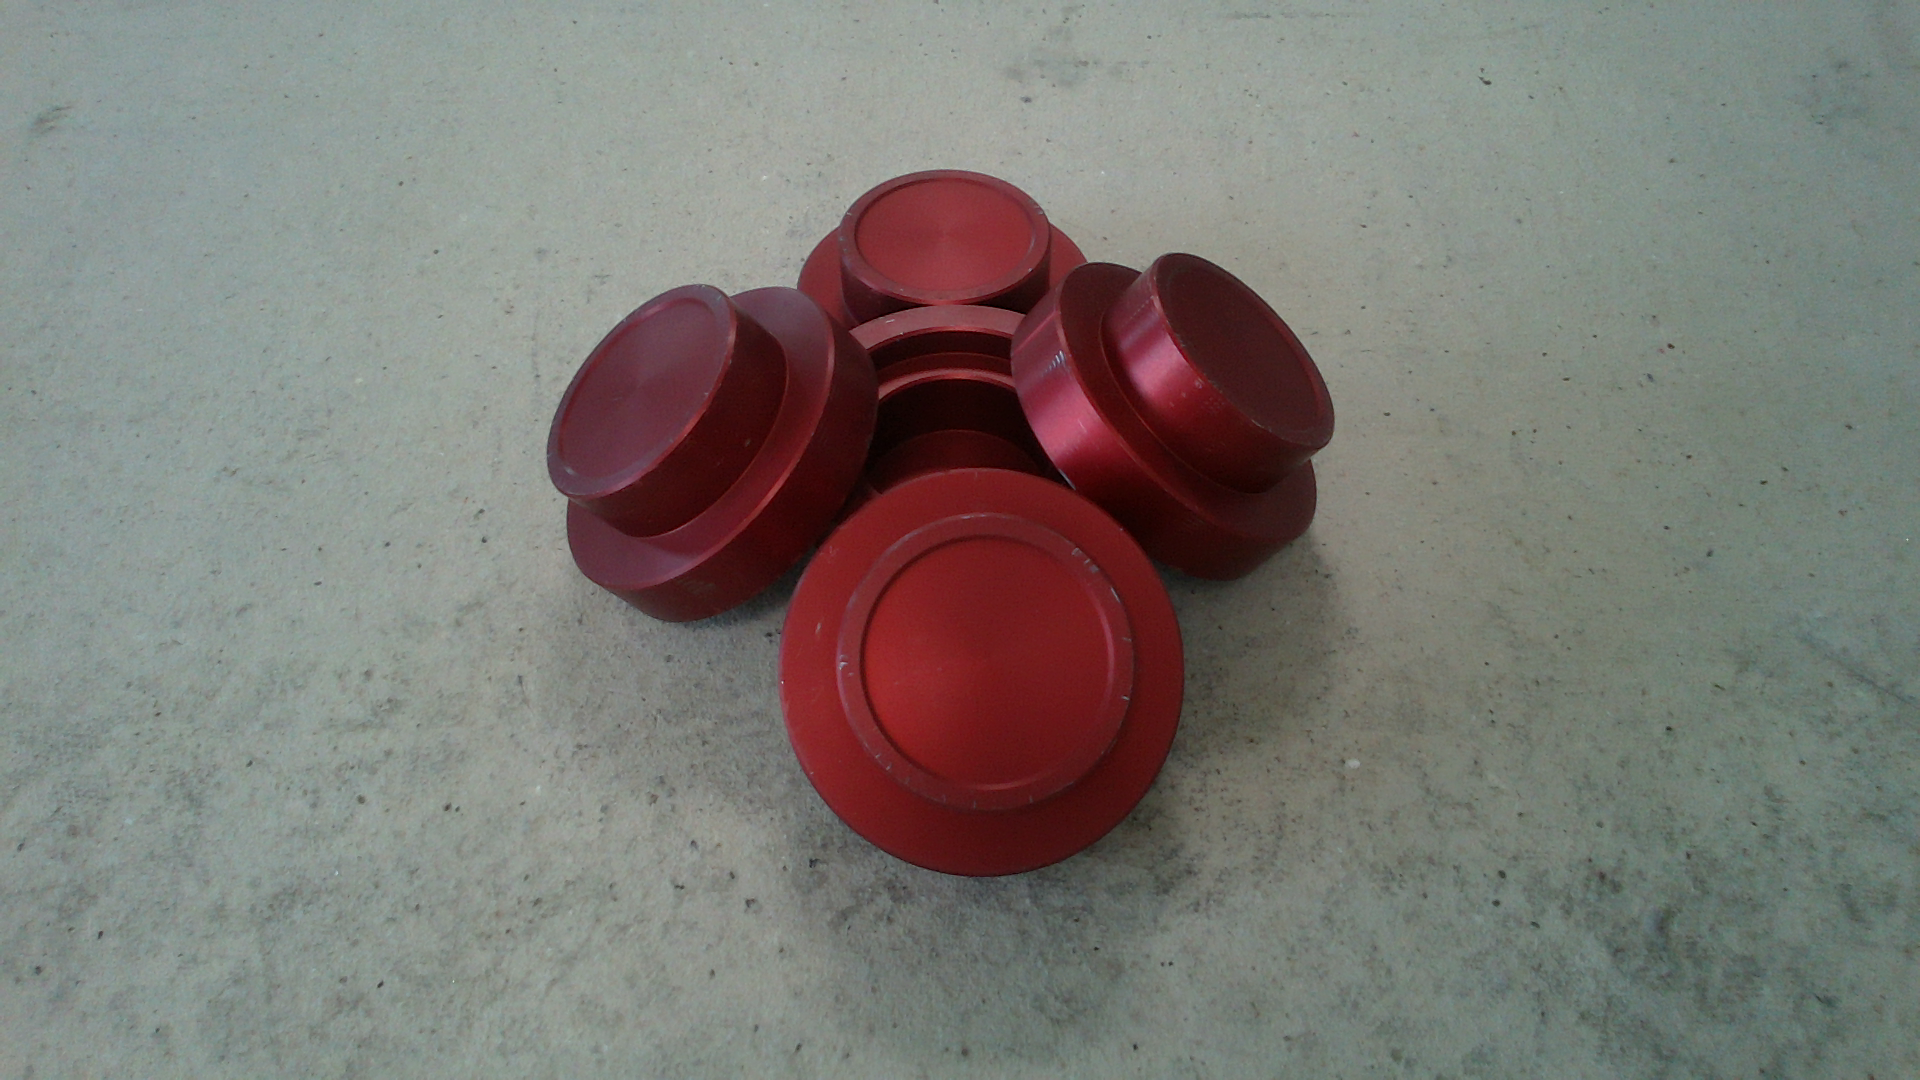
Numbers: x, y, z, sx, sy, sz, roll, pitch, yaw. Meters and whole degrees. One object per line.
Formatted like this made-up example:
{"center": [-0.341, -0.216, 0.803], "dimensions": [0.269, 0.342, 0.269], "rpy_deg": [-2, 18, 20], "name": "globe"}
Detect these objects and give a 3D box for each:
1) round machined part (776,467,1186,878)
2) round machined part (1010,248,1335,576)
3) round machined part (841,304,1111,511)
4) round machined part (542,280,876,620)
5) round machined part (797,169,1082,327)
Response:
{"center": [0.005, 0.030, 0.327], "dimensions": [0.098, 0.042, 0.098], "rpy_deg": [0, 80, -2], "name": "round machined part"}
{"center": [0.065, -0.042, 0.382], "dimensions": [0.098, 0.042, 0.098], "rpy_deg": [27, 40, -25], "name": "round machined part"}
{"center": [-0.001, -0.021, 0.398], "dimensions": [0.098, 0.042, 0.098], "rpy_deg": [-1, 49, 2], "name": "round machined part"}
{"center": [-0.074, -0.031, 0.375], "dimensions": [0.098, 0.042, 0.098], "rpy_deg": [-21, 49, 27], "name": "round machined part"}
{"center": [-0.005, -0.085, 0.452], "dimensions": [0.098, 0.042, 0.098], "rpy_deg": [0, 48, 0], "name": "round machined part"}
